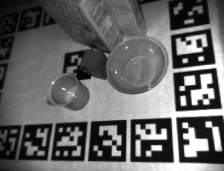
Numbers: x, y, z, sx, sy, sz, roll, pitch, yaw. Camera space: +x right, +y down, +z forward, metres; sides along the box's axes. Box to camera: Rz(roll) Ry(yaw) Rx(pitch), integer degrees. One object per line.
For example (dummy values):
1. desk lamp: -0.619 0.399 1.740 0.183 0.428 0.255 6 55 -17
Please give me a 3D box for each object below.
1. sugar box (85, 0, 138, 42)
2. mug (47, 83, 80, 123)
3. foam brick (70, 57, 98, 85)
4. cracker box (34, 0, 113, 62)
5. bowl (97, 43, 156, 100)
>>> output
1. sugar box: -0.002 -0.175 0.559 0.092 0.178 0.045 14 77 26
2. mug: -0.151 0.056 0.584 0.116 0.082 0.093 -17 58 17
3. foam brick: -0.071 -0.039 0.599 0.052 0.079 0.051 8 74 25
4. cracker box: -0.111 -0.155 0.575 0.162 0.216 0.072 24 79 27
5. bowl: 0.042 -0.026 0.546 0.160 0.056 0.161 -7 70 19
